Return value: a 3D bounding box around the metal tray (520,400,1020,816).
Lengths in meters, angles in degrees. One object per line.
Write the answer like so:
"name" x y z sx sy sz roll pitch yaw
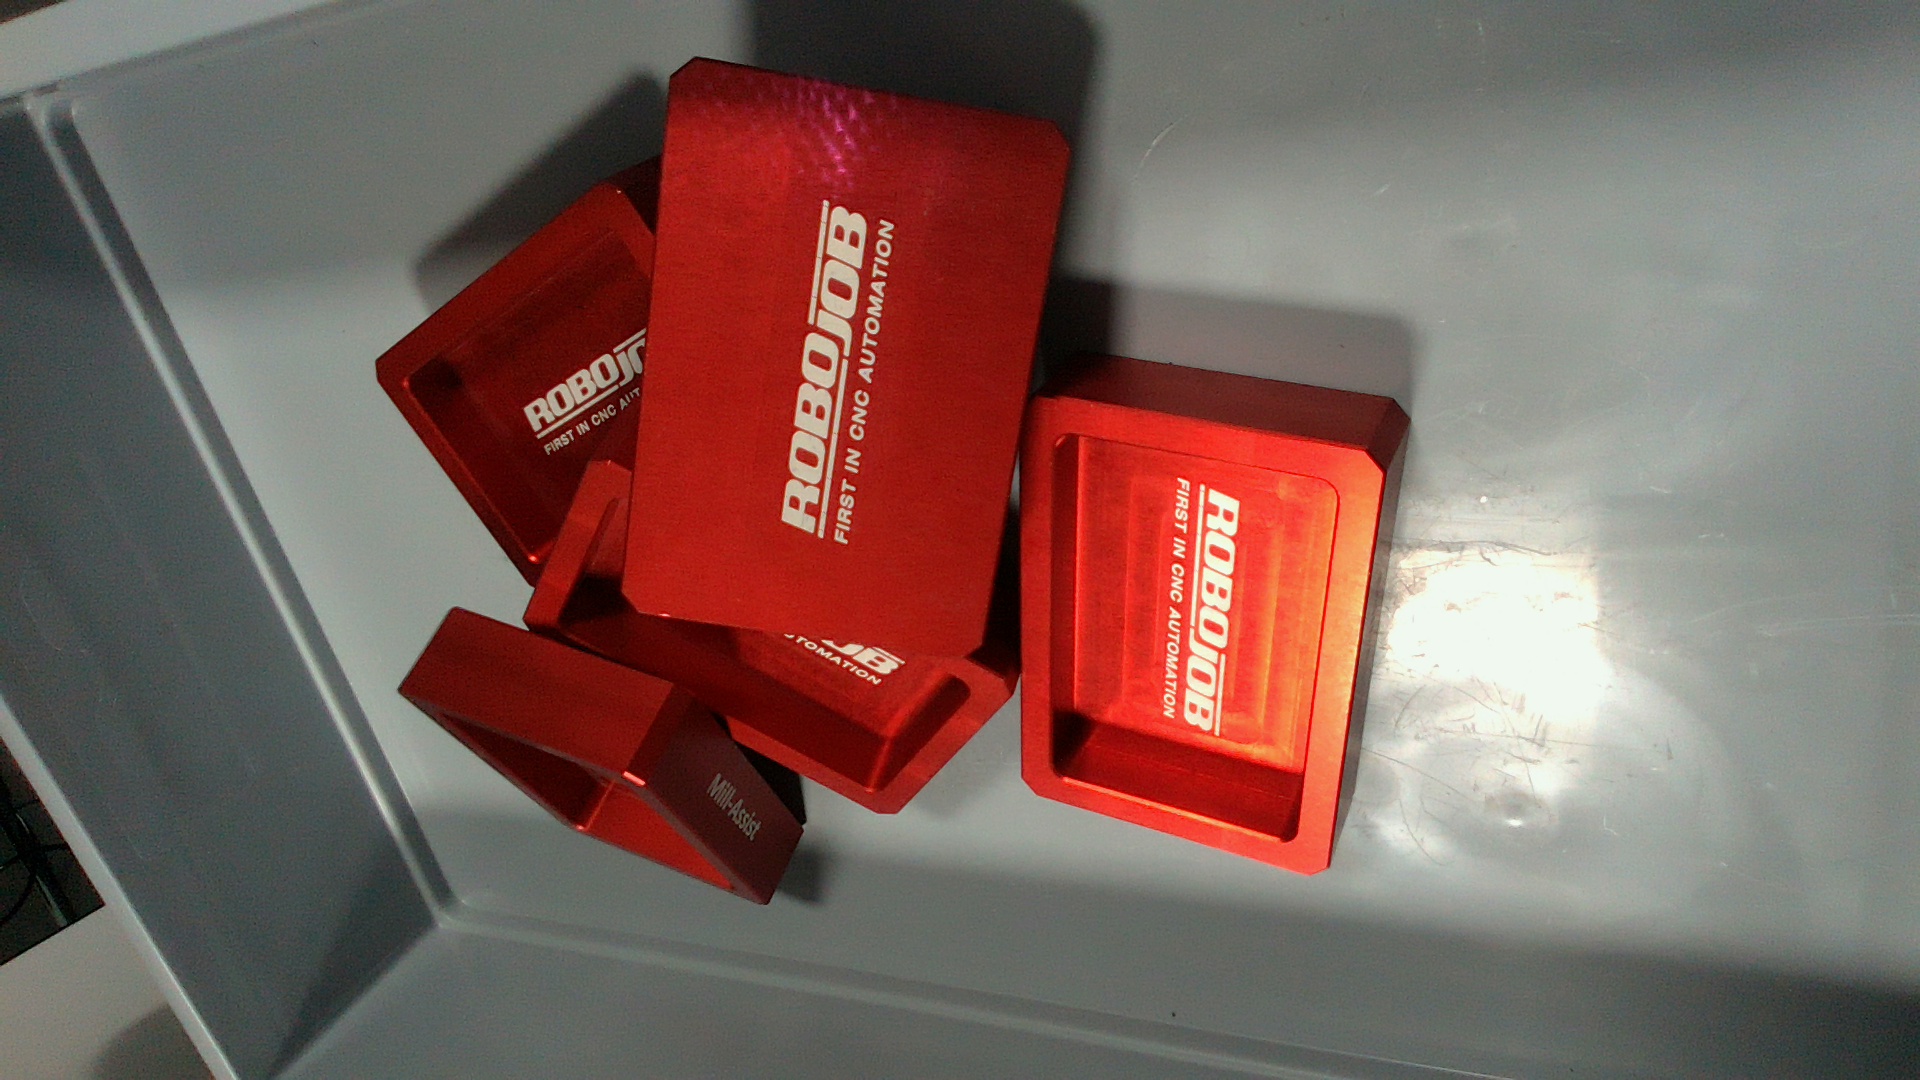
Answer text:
"metal tray" -0.055 0.024 0.405 0.130 0.030 0.090 29 137 -9

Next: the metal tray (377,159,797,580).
"metal tray" -0.110 -0.045 0.419 0.129 0.030 0.090 -23 106 36

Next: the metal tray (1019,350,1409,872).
"metal tray" 0.063 0.020 0.367 0.090 0.030 0.130 12 124 22

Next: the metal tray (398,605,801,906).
"metal tray" -0.114 0.075 0.458 0.090 0.030 0.130 16 154 19

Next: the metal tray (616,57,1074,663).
"metal tray" -0.029 -0.041 0.334 0.090 0.030 0.130 9 105 -4
